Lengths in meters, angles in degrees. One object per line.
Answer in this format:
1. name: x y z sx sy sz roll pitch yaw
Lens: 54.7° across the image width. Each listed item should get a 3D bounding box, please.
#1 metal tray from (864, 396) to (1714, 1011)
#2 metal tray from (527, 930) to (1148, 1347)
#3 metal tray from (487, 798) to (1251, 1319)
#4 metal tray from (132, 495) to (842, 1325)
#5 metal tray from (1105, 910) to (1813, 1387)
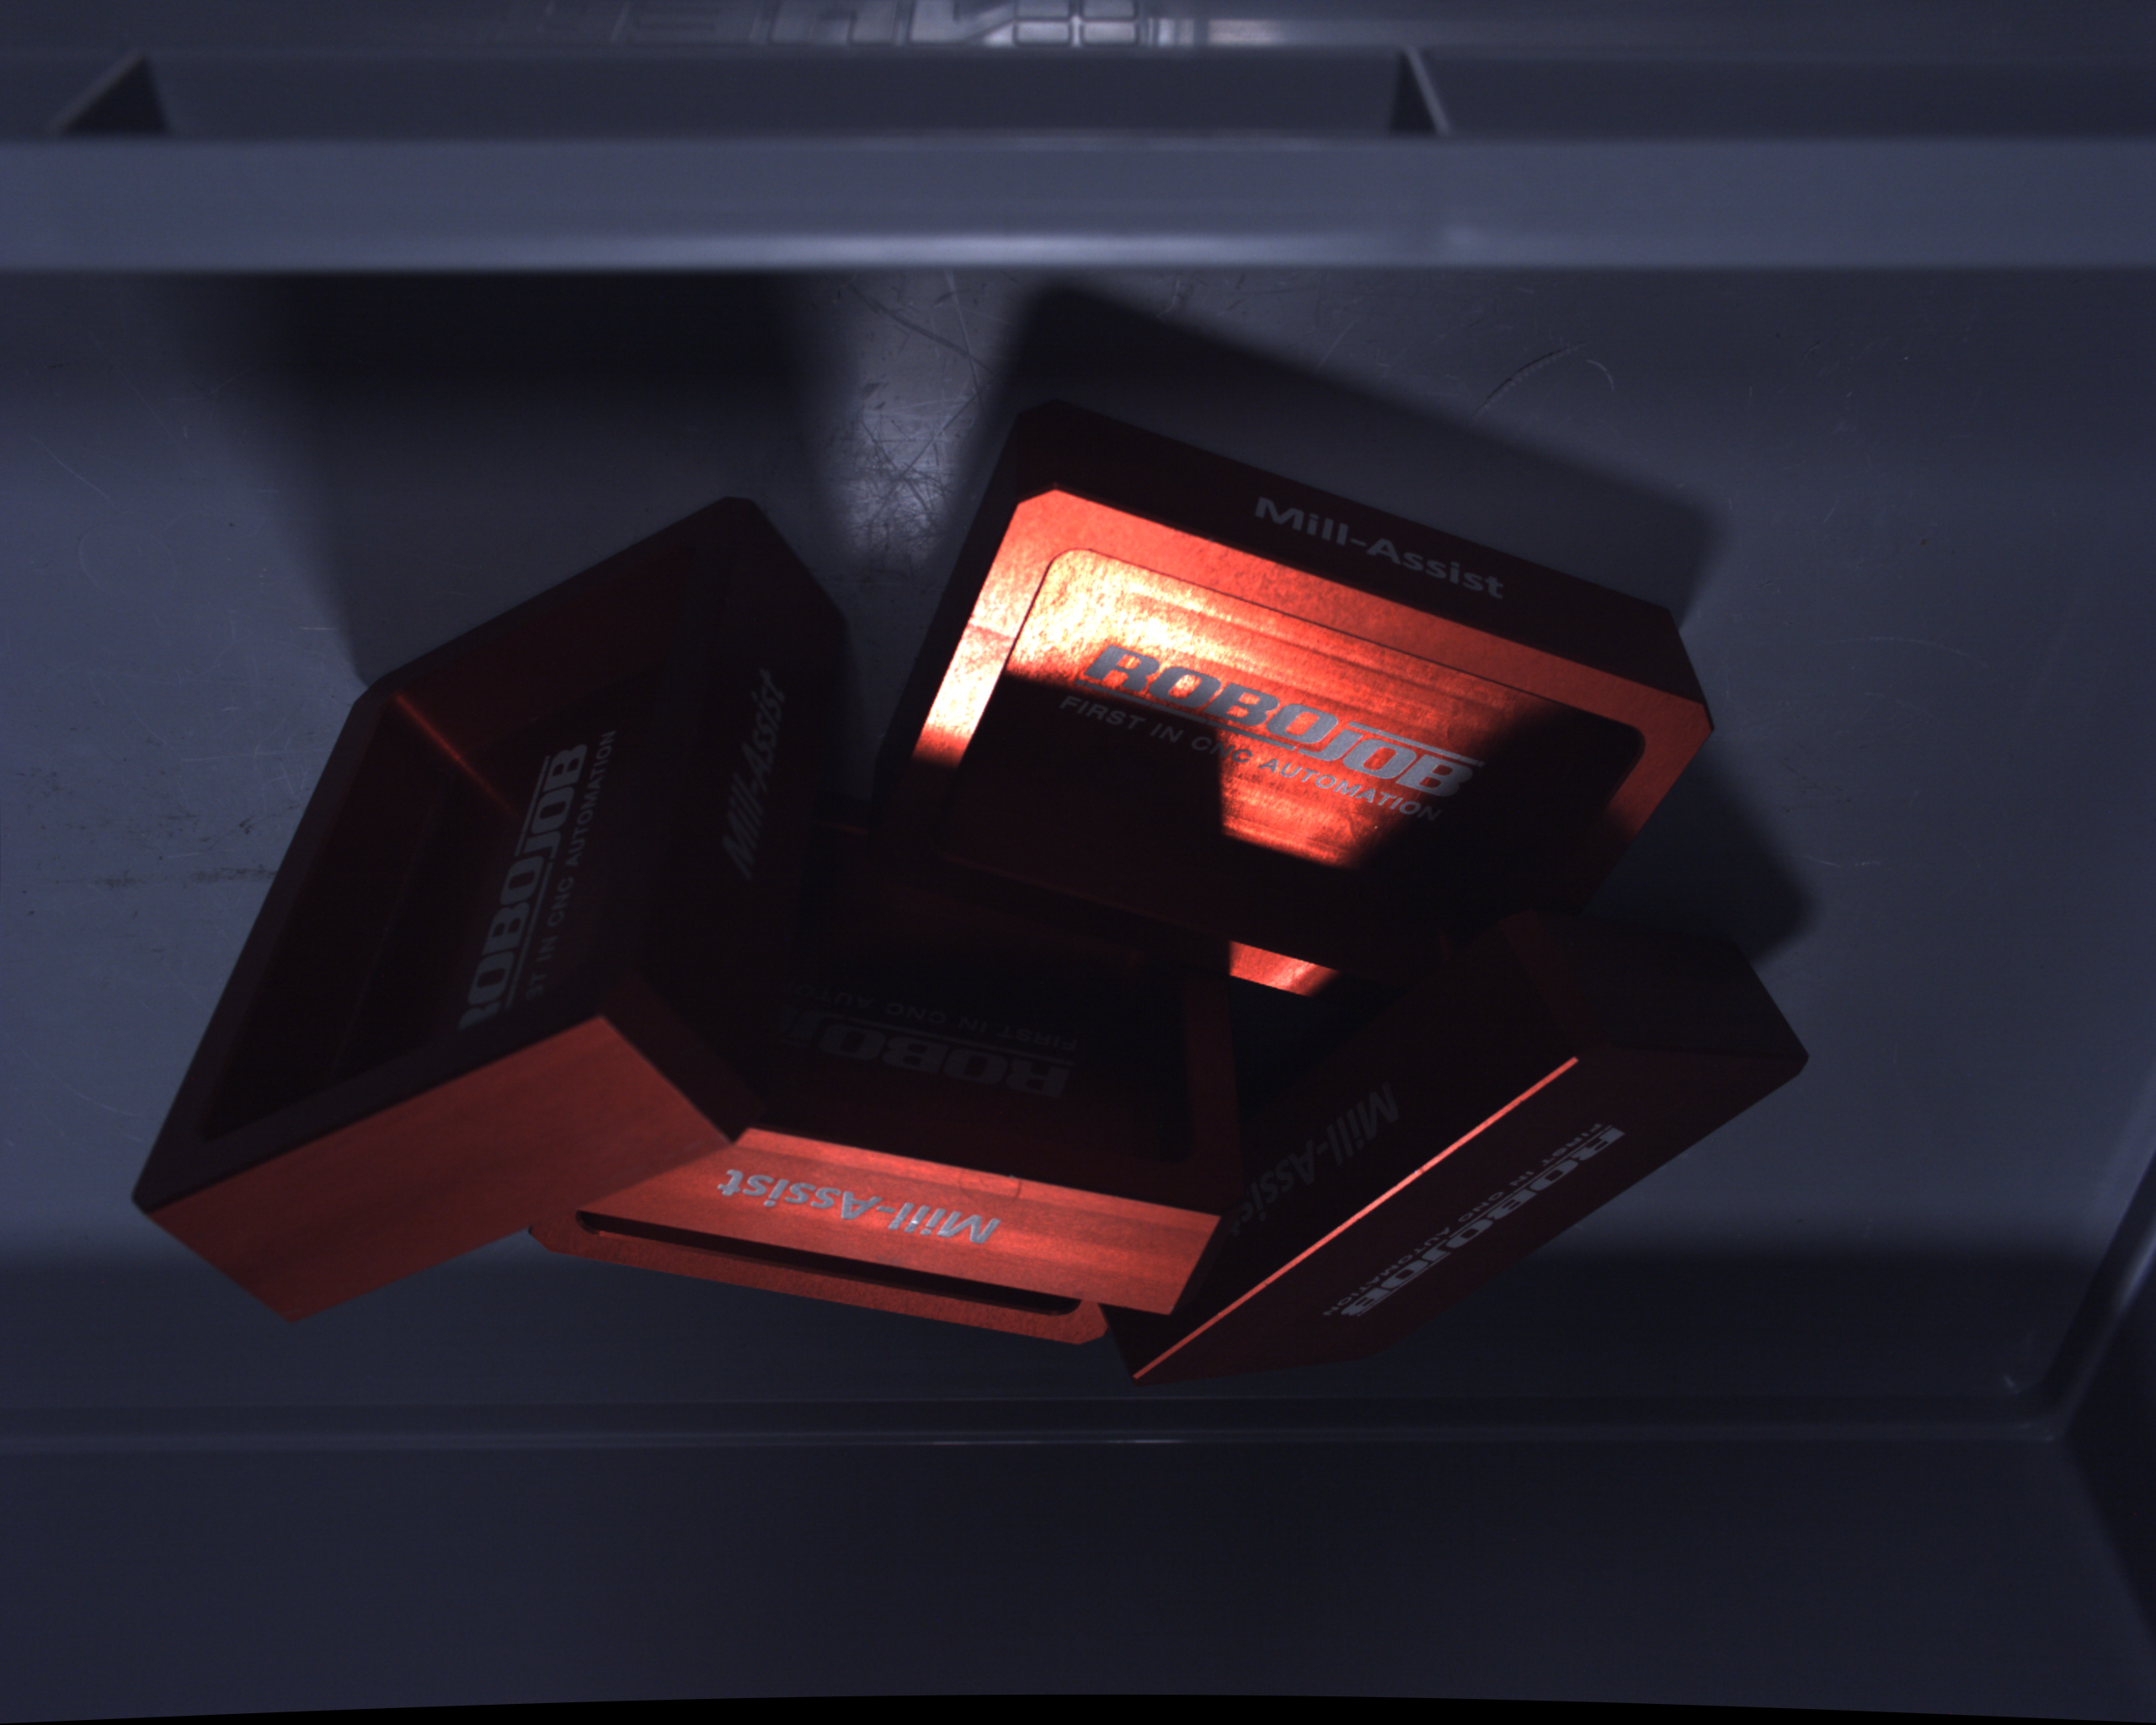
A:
1. metal tray: 0.036 -0.022 0.385 0.131 0.030 0.089 16 128 -14
2. metal tray: -0.045 0.057 0.449 0.131 0.030 0.089 12 129 -11
3. metal tray: -0.037 0.030 0.388 0.131 0.090 0.030 12 129 -11
4. metal tray: -0.089 0.002 0.337 0.090 0.130 0.030 -23 127 19
5. metal tray: 0.075 0.062 0.432 0.091 0.030 0.129 9 137 -46
